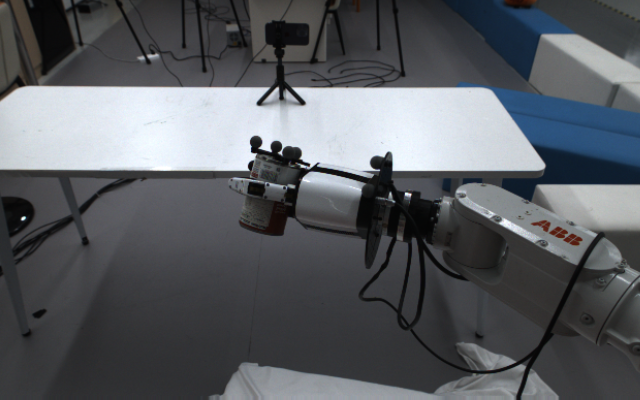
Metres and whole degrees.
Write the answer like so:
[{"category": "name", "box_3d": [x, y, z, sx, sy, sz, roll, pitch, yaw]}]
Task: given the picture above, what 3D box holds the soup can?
[{"category": "soup can", "box_3d": [-0.071, -0.007, 0.683, 0.067, 0.101, 0.067, 15, 7, -2]}]
